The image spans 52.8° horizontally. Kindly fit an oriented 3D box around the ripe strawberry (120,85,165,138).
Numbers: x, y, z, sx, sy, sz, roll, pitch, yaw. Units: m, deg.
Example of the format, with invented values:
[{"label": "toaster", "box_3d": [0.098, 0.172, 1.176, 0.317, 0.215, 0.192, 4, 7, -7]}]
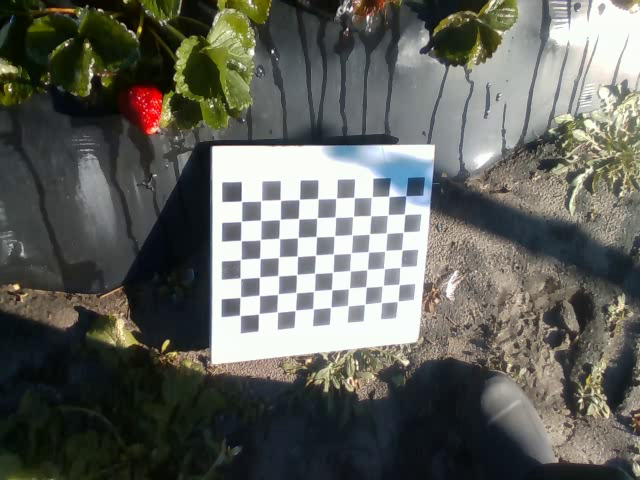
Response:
[{"label": "ripe strawberry", "box_3d": [-0.150, -0.109, 0.550, 0.041, 0.053, 0.047, -10, -21, -17]}]
